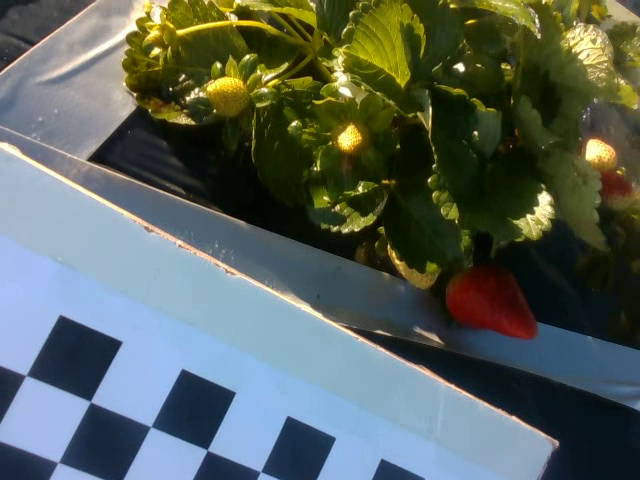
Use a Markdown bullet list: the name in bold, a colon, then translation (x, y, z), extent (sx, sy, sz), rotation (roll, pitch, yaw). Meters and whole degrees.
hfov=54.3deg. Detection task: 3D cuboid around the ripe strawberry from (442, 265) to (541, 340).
- **ripe strawberry**: translation (0.094, 0.035, 0.335), extent (0.045, 0.049, 0.063), rotation (-37, 44, -9)
